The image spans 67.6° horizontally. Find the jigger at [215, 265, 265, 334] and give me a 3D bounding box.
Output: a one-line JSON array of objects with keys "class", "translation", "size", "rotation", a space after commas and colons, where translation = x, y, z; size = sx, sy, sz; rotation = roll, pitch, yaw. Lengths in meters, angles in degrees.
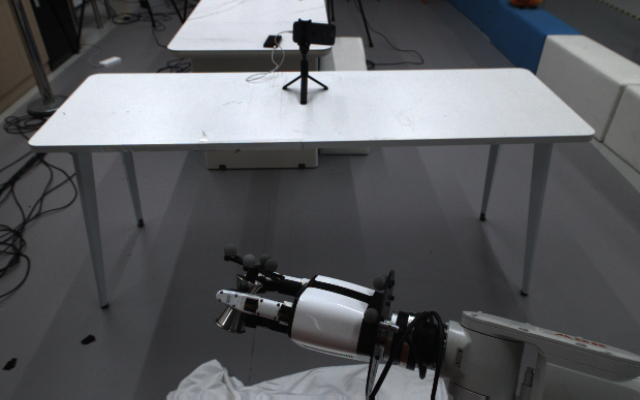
[{"class": "jigger", "translation": [-0.108, 0.135, 0.642], "size": [0.043, 0.071, 0.043], "rotation": [24, -2, 1]}]
